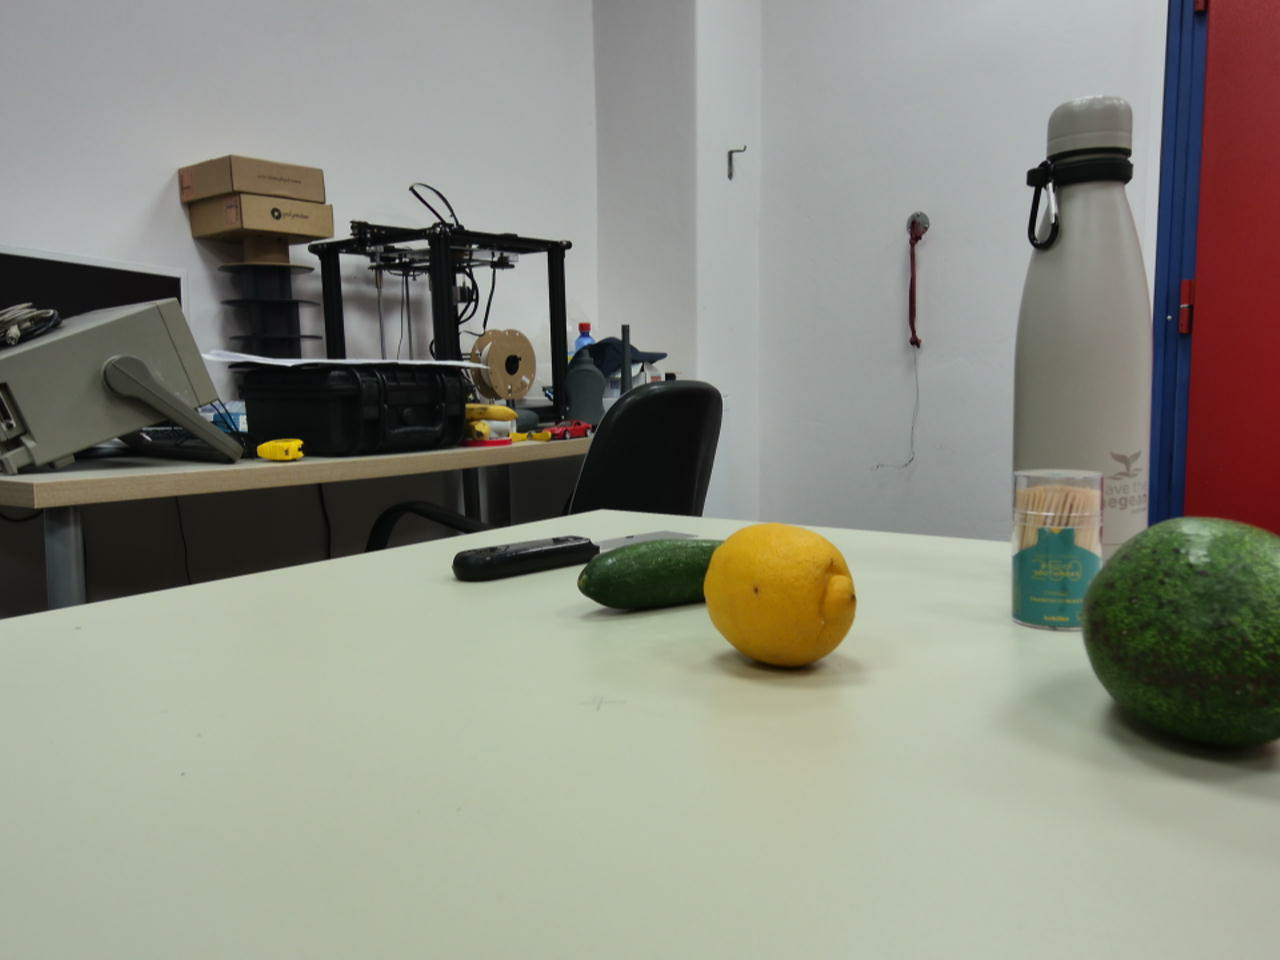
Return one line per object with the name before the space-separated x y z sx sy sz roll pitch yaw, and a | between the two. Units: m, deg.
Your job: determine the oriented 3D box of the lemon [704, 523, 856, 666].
lemon | 0.060 0.049 0.432 0.061 0.059 0.067 0 3 -11
